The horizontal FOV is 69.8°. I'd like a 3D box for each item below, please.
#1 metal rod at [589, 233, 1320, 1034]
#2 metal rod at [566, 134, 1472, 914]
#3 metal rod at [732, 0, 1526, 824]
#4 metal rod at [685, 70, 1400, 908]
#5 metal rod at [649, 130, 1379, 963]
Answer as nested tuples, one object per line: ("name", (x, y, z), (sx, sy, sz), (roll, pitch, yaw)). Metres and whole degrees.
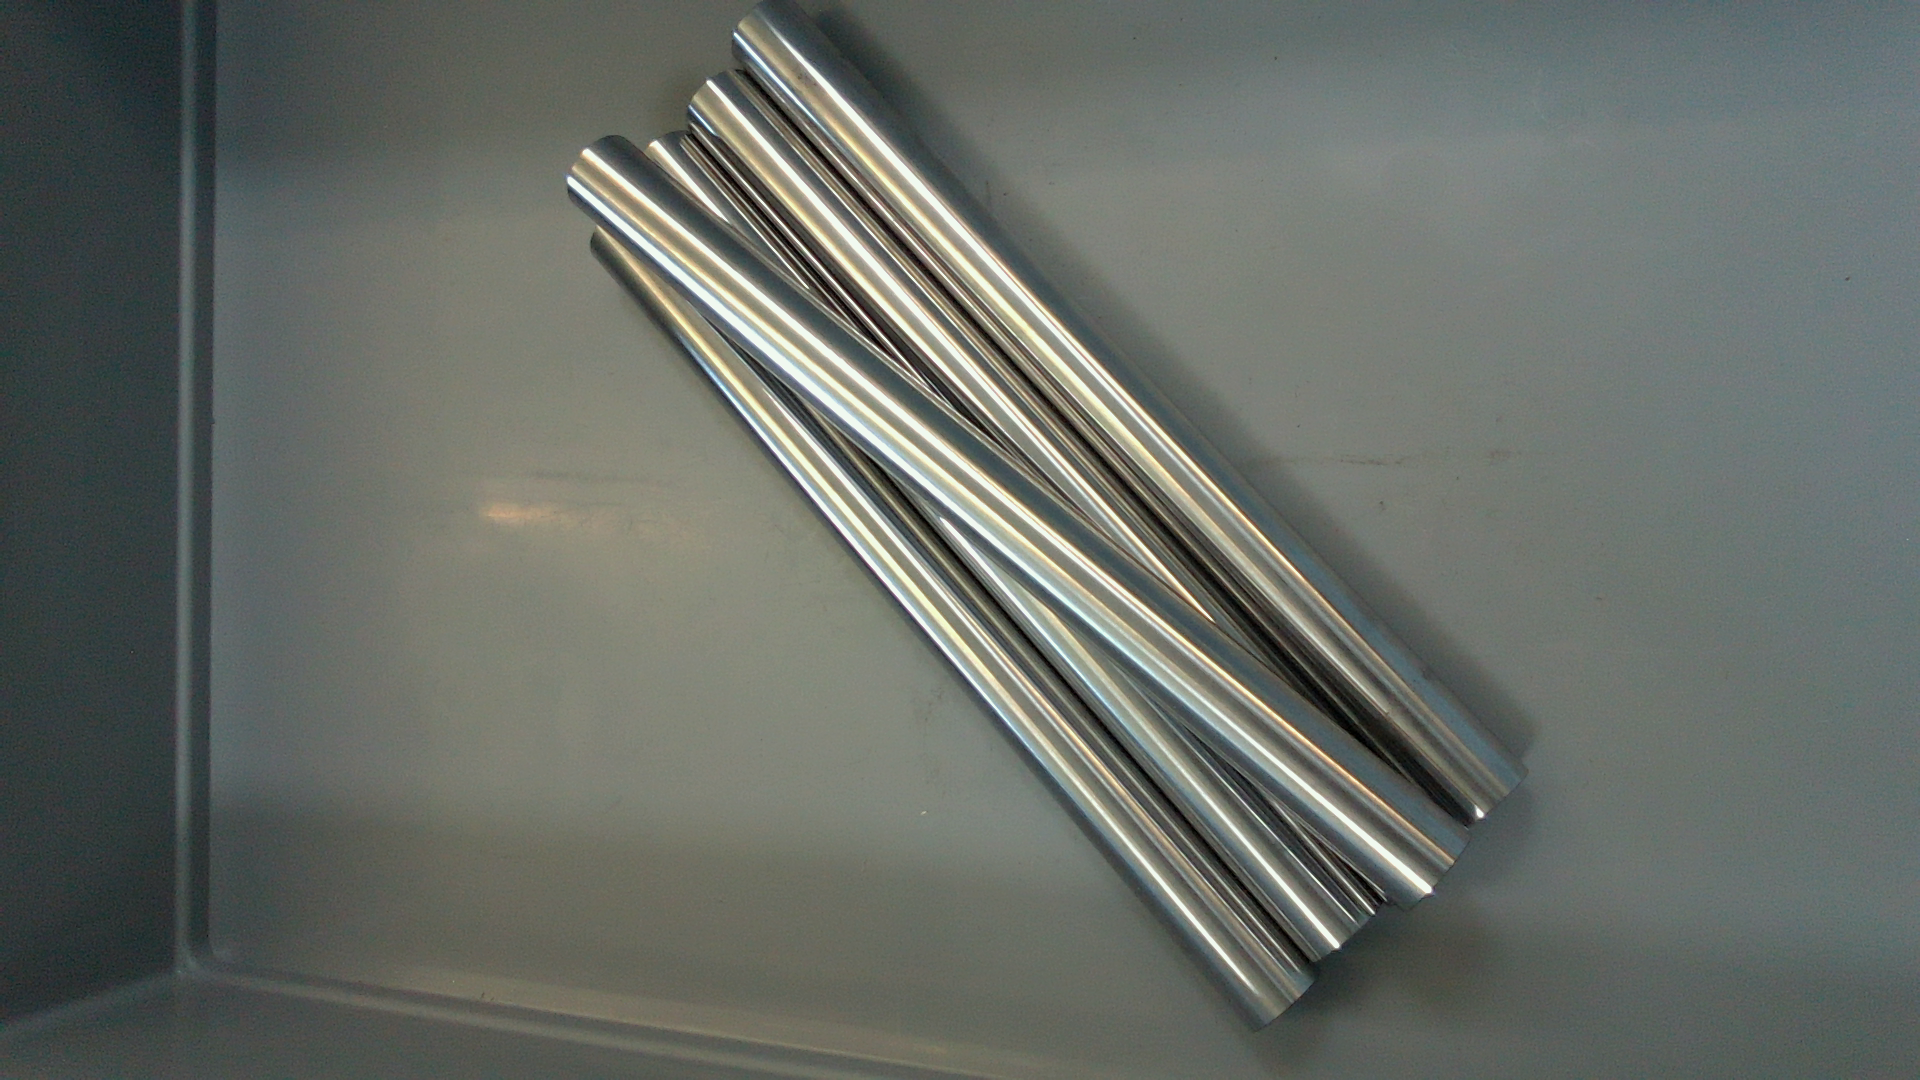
("metal rod", (-0.010, 0.012, 0.399), (0.025, 0.025, 0.300), (-45, 76, 15))
("metal rod", (0.004, -0.015, 0.366), (0.300, 0.025, 0.025), (41, 103, 15))
("metal rod", (0.037, -0.044, 0.381), (0.025, 0.025, 0.300), (-45, 76, 15))
("metal rod", (0.022, -0.024, 0.387), (0.025, 0.025, 0.300), (-45, 76, 15))
("metal rod", (0.004, -0.008, 0.393), (0.025, 0.025, 0.300), (-45, 76, 15))
